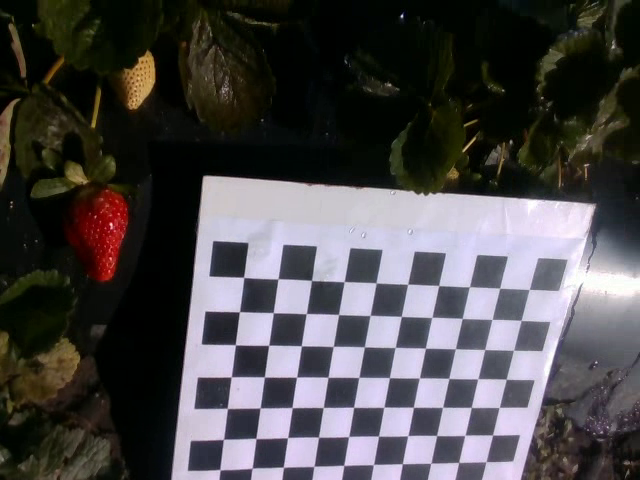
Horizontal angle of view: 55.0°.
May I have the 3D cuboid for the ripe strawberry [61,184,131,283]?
[{"bbox_3d":[-0.138,-0.004,0.384,0.048,0.069,0.040,-14,9,-10],"label":"ripe strawberry"}]
